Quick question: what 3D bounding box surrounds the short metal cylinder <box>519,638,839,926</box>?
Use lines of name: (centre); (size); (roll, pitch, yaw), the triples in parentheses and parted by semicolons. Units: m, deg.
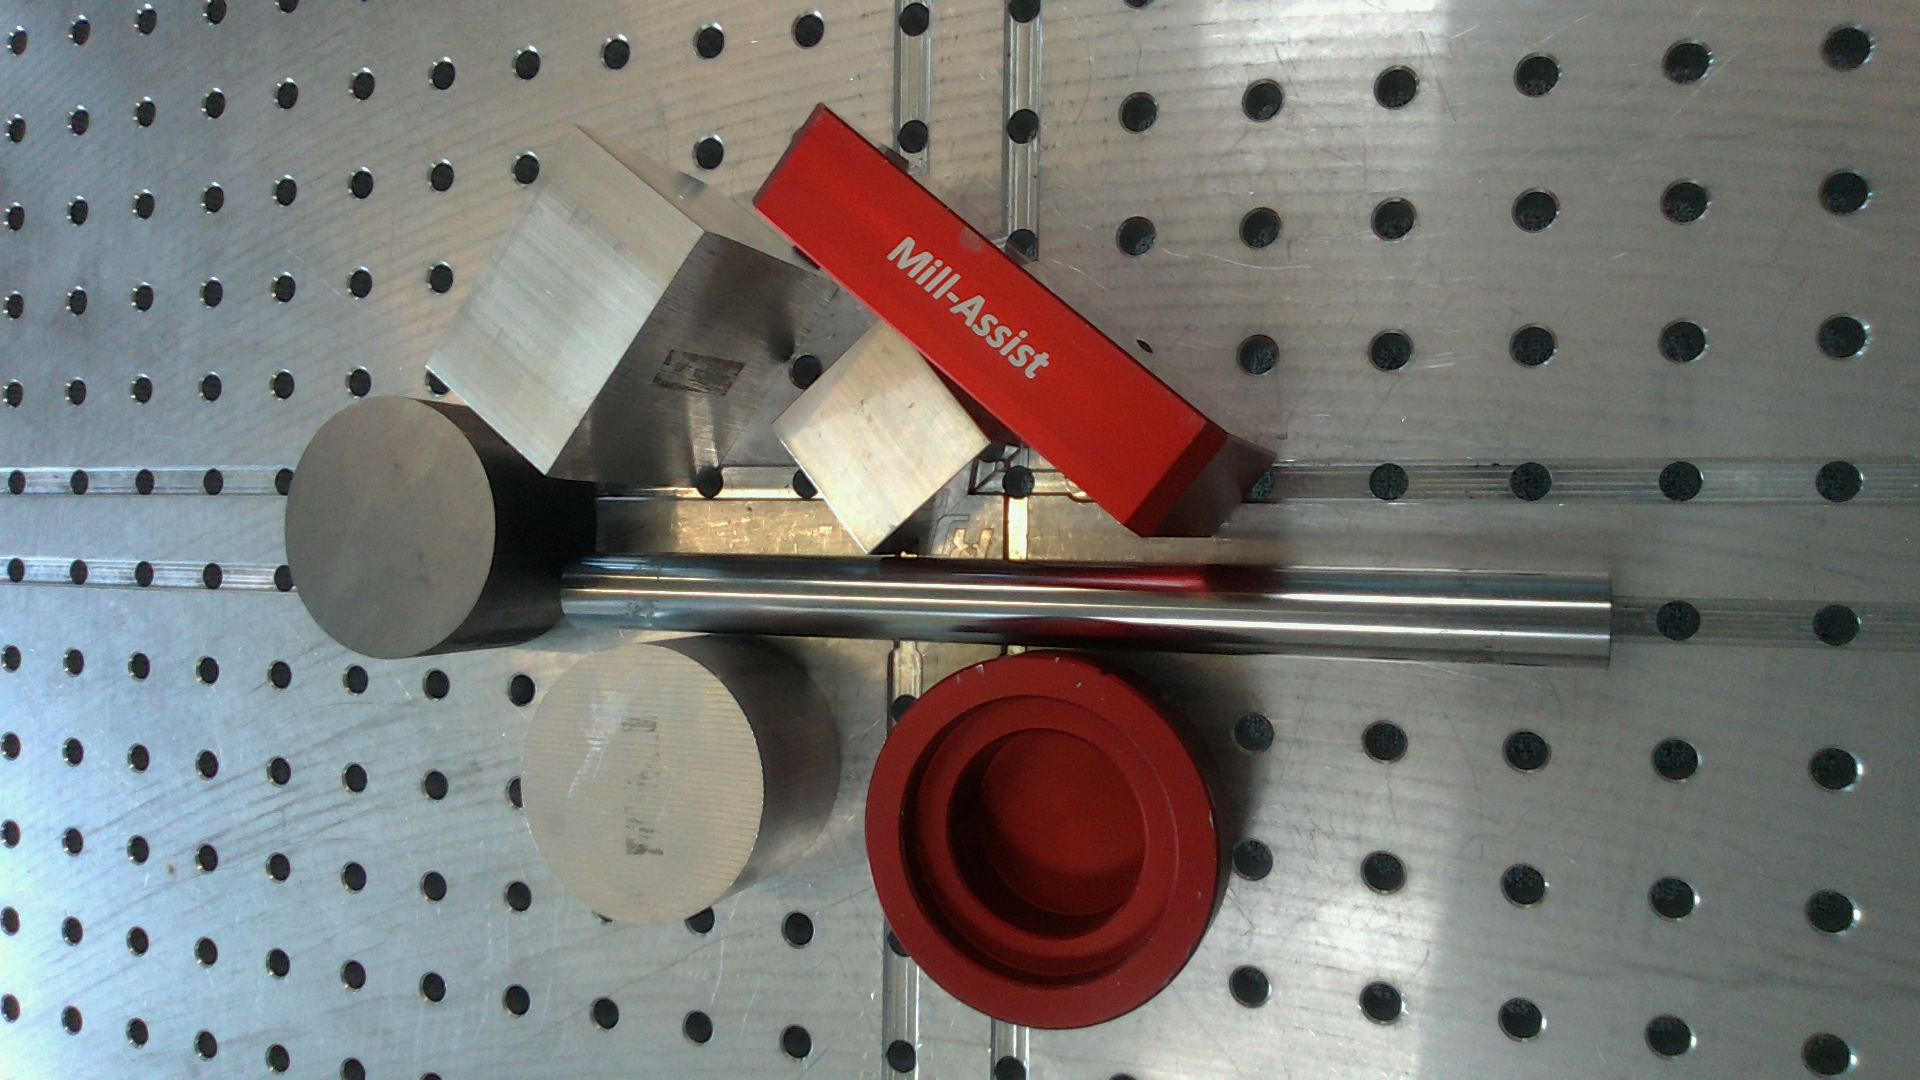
short metal cylinder: (-0.084, 0.070, 0.415); (0.080, 0.050, 0.080); (0, 90, 20)

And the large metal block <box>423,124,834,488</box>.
large metal block: (-0.093, -0.063, 0.403); (0.050, 0.080, 0.080); (40, 103, 15)

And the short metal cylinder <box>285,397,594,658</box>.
short metal cylinder: (-0.167, -0.004, 0.445); (0.080, 0.050, 0.080); (0, 90, 20)

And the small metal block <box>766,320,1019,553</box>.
small metal block: (-0.020, -0.031, 0.406); (0.050, 0.025, 0.050); (-41, 77, 15)

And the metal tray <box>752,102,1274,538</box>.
metal tray: (0.018, -0.053, 0.357); (0.130, 0.090, 0.030); (42, 103, 15)

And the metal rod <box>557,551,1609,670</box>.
metal rod: (0.019, 0.018, 0.391); (0.299, 0.025, 0.025); (1, 90, 20)

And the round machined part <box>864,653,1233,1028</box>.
round machined part: (0.026, 0.079, 0.380); (0.098, 0.042, 0.098); (0, 90, 20)
